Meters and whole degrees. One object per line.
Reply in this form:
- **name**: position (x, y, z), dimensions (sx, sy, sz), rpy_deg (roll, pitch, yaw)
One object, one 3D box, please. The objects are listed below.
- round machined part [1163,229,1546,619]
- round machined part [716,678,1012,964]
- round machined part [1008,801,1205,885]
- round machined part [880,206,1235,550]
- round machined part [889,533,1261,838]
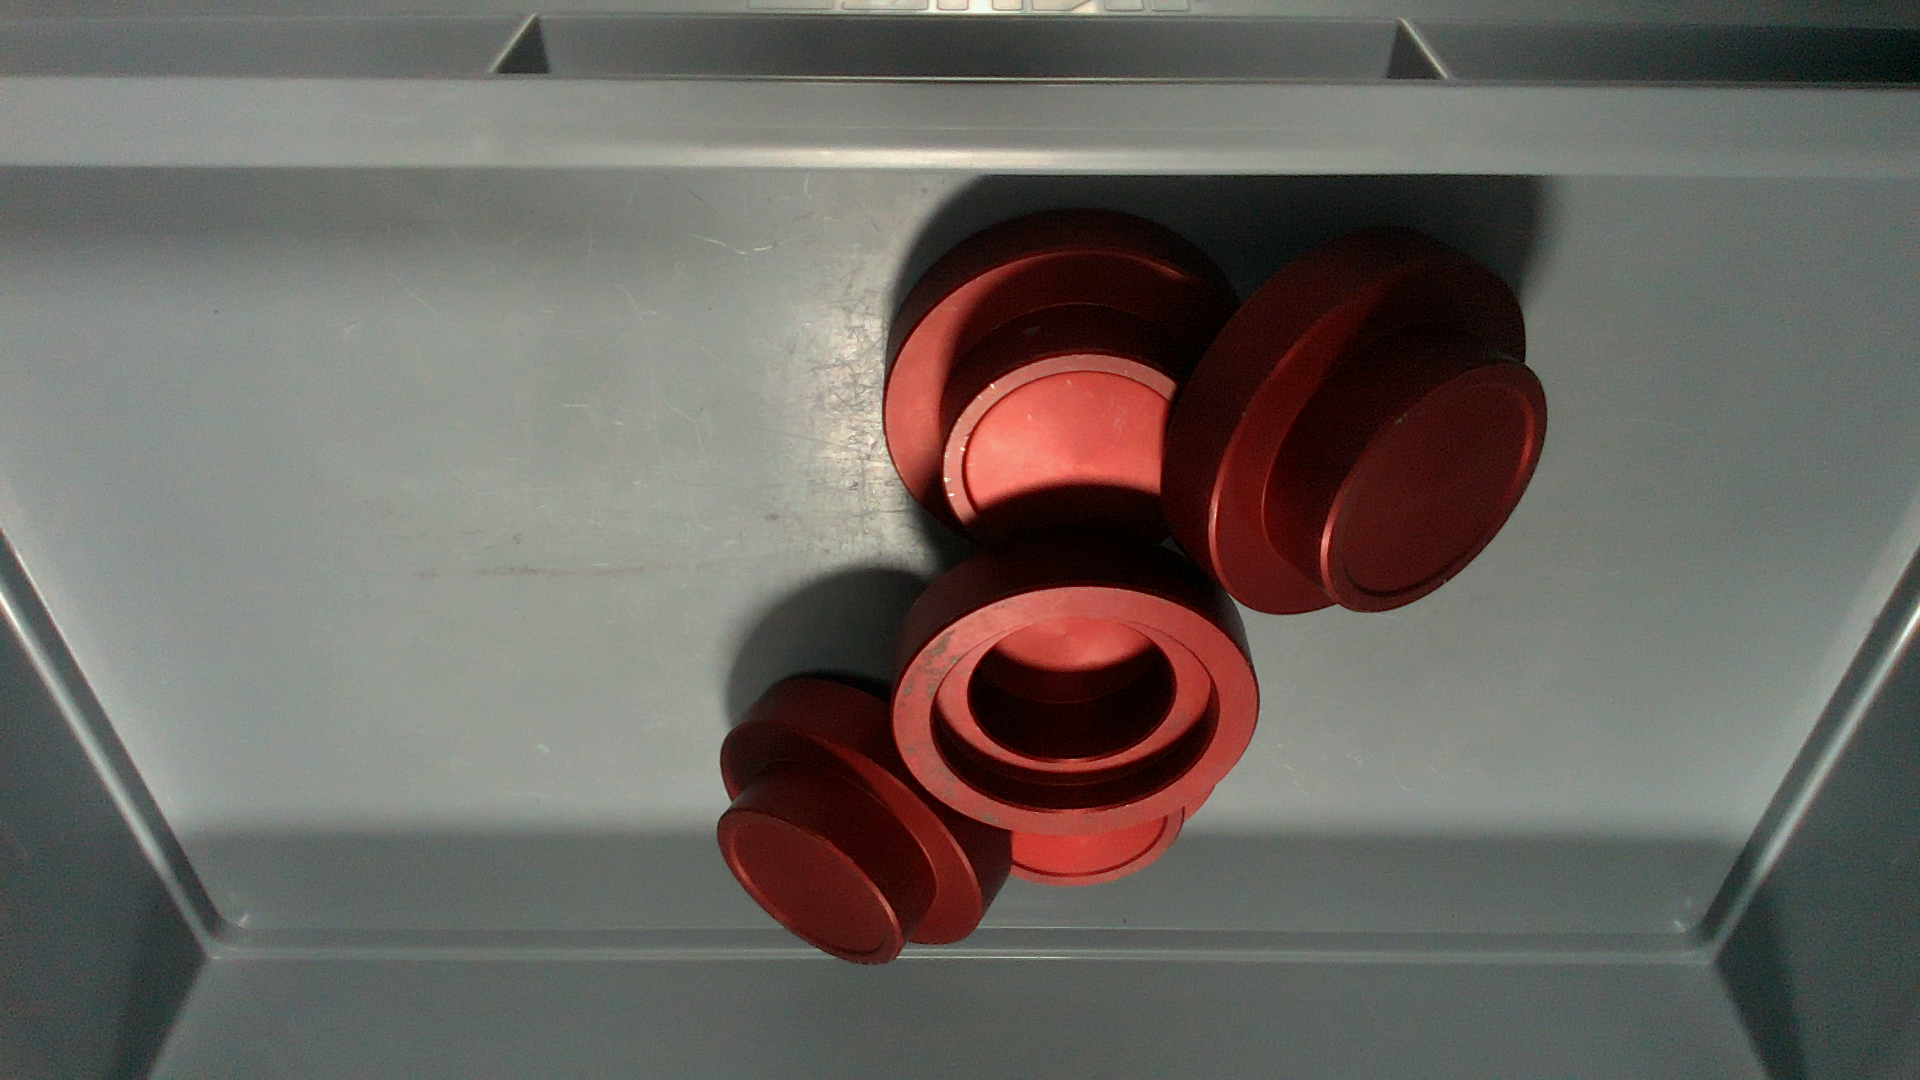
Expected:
- **round machined part**: position (0.101, -0.021, 0.333), dimensions (0.098, 0.042, 0.098), rpy_deg (-20, 131, -24)
- **round machined part**: position (-0.036, 0.093, 0.429), dimensions (0.098, 0.042, 0.098), rpy_deg (22, 138, 21)
- **round machined part**: position (0.035, 0.073, 0.439), dimensions (0.098, 0.042, 0.098), rpy_deg (0, 130, 0)
- **round machined part**: position (0.028, -0.031, 0.351), dimensions (0.098, 0.042, 0.098), rpy_deg (0, 130, 0)
- **round machined part**: position (0.030, 0.035, 0.379), dimensions (0.098, 0.042, 0.098), rpy_deg (0, 130, 0)
